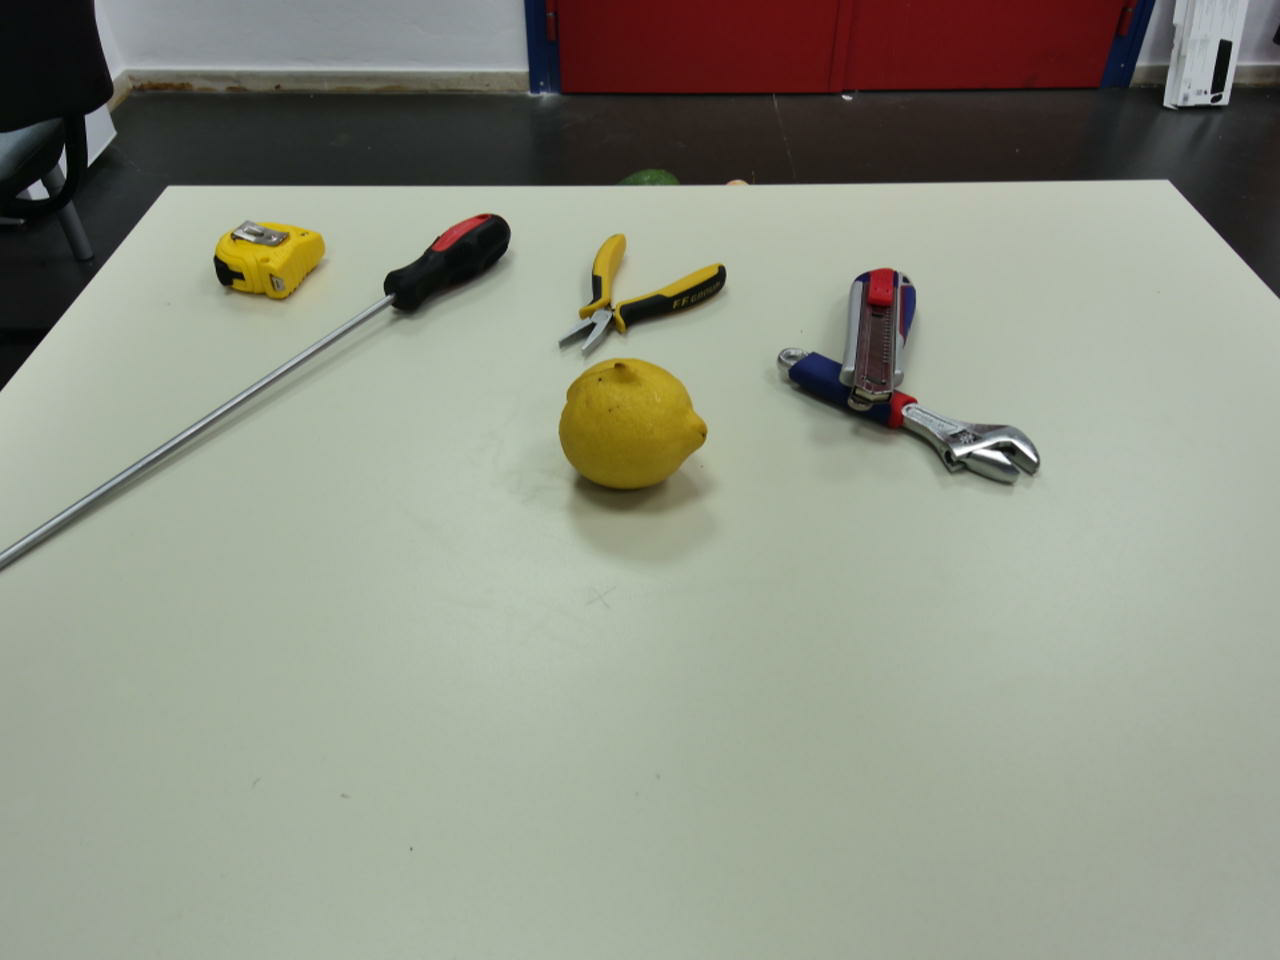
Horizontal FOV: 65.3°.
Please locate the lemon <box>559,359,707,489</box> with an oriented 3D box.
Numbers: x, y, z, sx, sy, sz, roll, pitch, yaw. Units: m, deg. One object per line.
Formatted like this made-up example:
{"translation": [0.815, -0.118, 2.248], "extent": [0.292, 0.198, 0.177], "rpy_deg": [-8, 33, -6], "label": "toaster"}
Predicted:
{"translation": [-0.007, -0.032, 0.521], "extent": [0.070, 0.071, 0.071], "rpy_deg": [-22, 44, -26], "label": "lemon"}
